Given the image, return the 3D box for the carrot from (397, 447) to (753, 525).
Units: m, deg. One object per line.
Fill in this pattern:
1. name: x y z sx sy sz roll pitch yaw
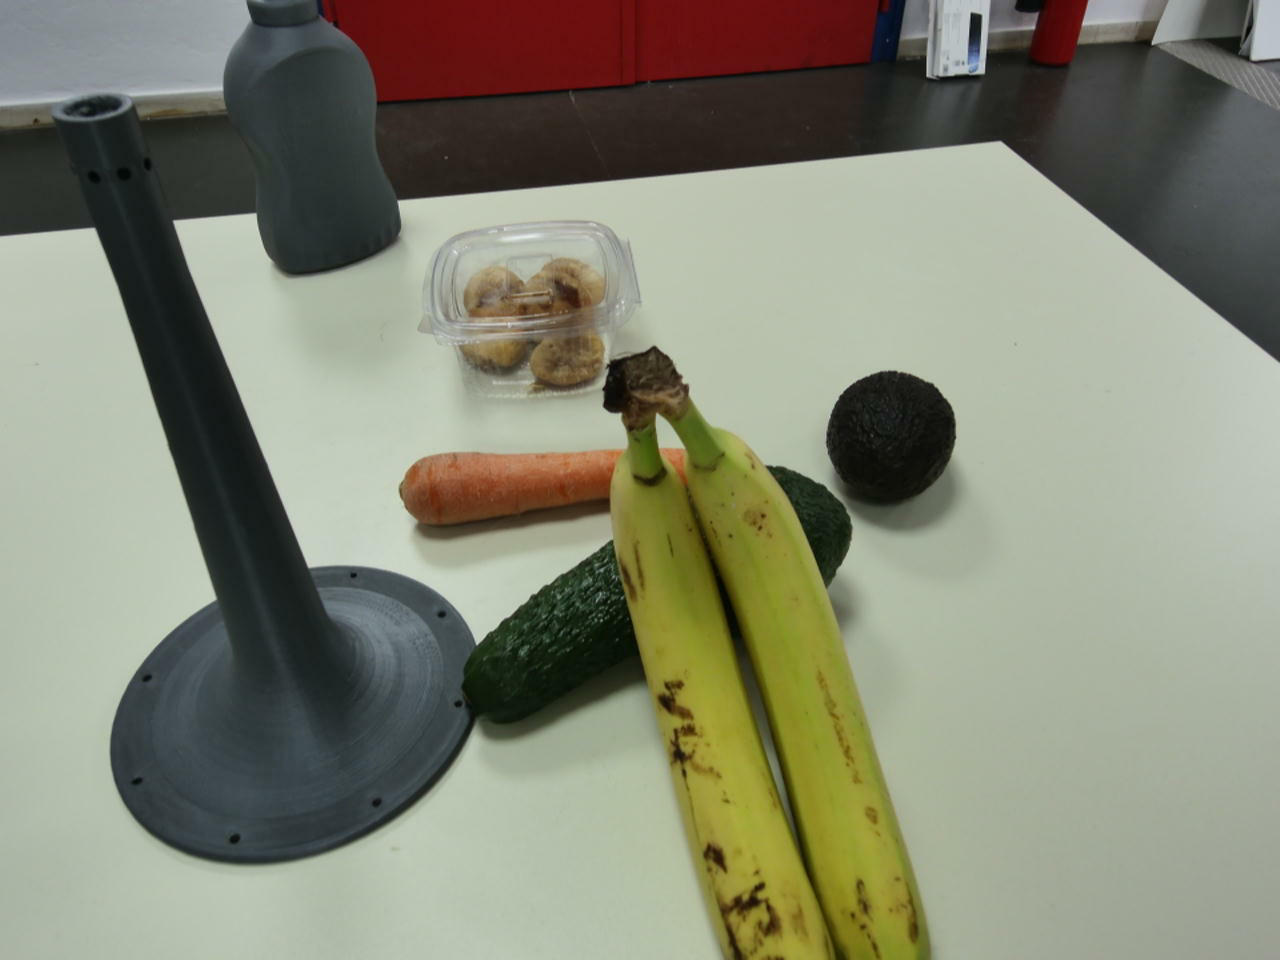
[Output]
1. carrot: -0.031 -0.005 0.548 0.196 0.041 0.039 -7 40 -10
